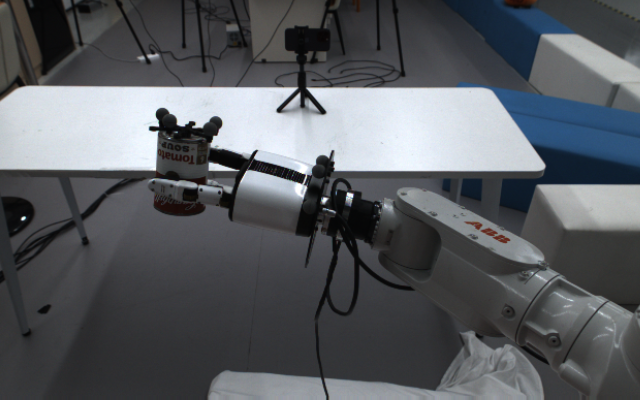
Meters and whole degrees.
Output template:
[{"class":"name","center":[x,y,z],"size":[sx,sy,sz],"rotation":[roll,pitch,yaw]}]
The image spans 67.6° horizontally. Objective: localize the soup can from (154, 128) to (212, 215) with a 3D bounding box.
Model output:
[{"class":"soup can","center":[-0.180,-0.037,0.636],"size":[0.067,0.101,0.067],"rotation":[9,20,-3]}]
